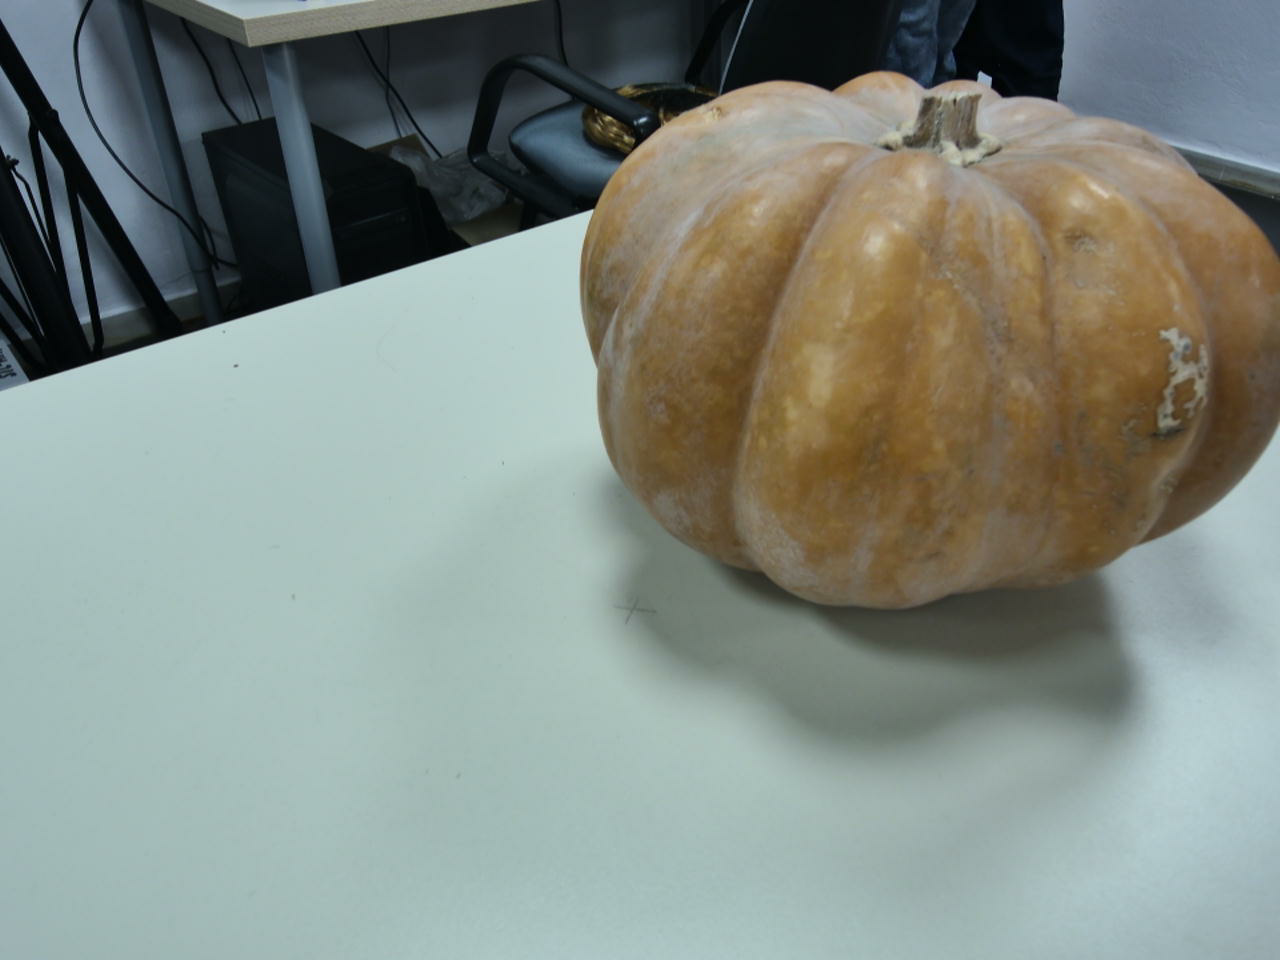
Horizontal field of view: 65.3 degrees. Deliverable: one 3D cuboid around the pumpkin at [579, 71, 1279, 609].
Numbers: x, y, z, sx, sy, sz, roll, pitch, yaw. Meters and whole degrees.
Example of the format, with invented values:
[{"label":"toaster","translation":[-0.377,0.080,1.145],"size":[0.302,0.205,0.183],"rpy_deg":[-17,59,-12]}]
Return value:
[{"label":"pumpkin","translation":[0.105,-0.065,0.408],"size":[0.277,0.181,0.277],"rpy_deg":[0,35,0]}]
